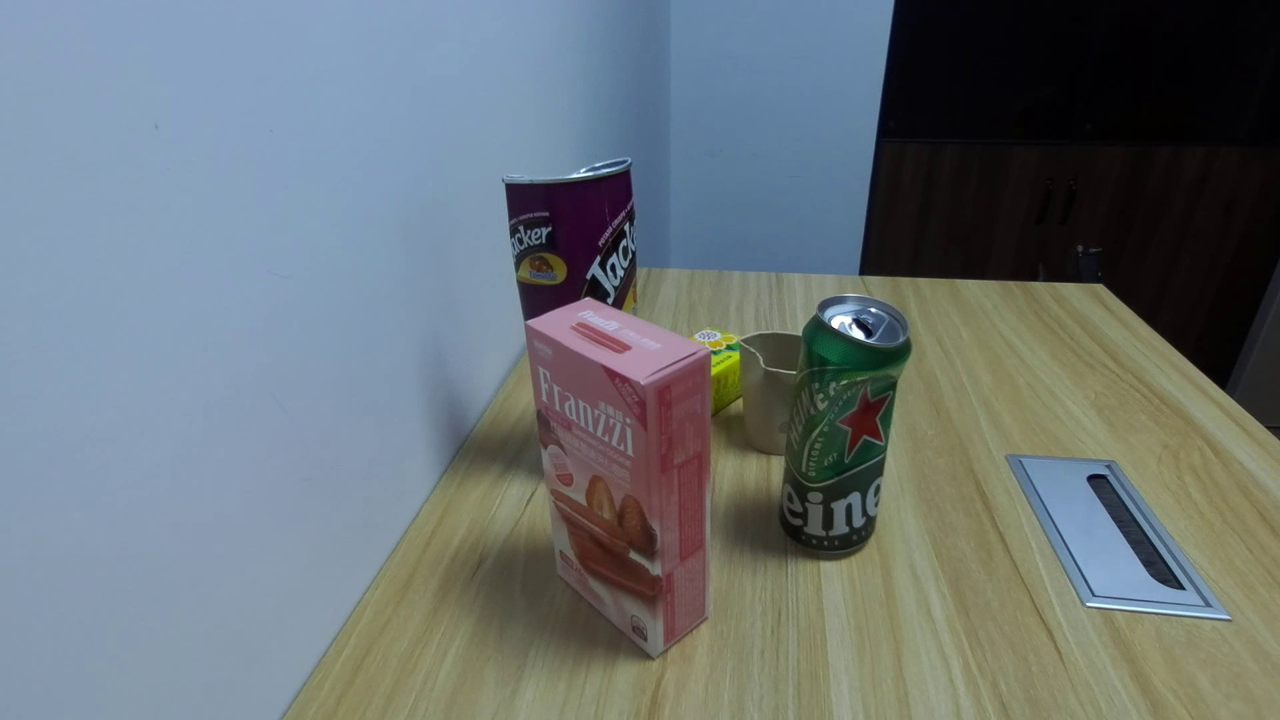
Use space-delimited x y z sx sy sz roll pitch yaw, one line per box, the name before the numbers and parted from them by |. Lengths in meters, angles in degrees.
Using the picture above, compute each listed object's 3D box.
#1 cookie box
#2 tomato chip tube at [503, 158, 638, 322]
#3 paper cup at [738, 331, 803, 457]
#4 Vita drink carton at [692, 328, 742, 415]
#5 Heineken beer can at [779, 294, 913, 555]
cookie box | -0.009 0.068 0.402 0.048 0.185 0.095 -26 36 -35
tomato chip tube | -0.040 -0.021 0.523 0.077 0.235 0.076 2 24 14
paper cup | 0.120 0.030 0.597 0.066 0.084 0.072 11 17 27
Vita drink carton | 0.055 0.014 0.649 0.066 0.043 0.109 19 33 36
Heineken beer can | 0.131 0.047 0.454 0.068 0.168 0.069 6 30 7
